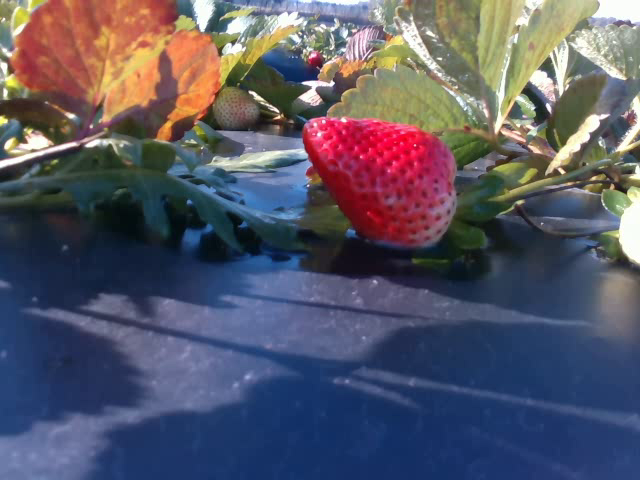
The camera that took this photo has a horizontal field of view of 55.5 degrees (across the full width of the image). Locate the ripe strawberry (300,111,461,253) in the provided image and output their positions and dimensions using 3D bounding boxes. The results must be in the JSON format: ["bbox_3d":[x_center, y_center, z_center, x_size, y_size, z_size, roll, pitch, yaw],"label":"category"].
[{"bbox_3d":[0.015,-0.018,0.160,0.053,0.044,0.036,25,-37,-12],"label":"ripe strawberry"}]
